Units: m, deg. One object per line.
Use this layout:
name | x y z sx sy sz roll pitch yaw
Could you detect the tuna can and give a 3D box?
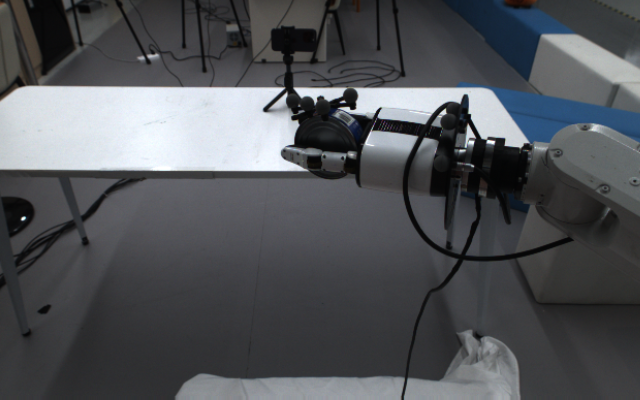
tuna can | 0.014 -0.072 0.610 0.085 0.085 0.034 17 36 20
